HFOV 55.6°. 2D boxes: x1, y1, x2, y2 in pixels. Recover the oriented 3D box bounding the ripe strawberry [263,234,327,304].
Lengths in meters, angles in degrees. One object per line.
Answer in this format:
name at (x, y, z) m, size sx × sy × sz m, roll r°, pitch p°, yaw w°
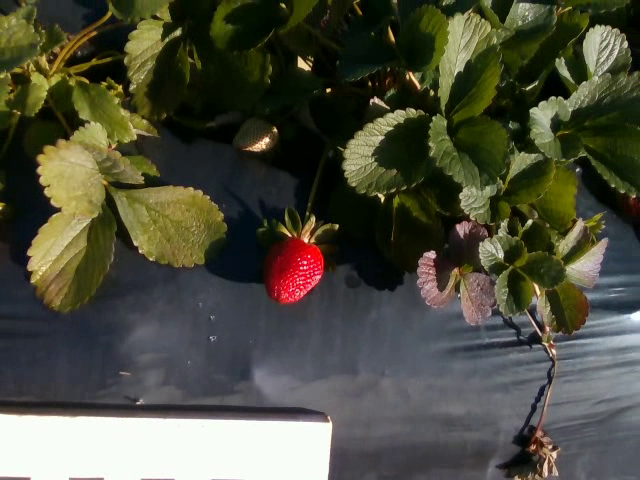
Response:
ripe strawberry at (-0.018, 0.024, 0.376) m, size 0.043 × 0.042 × 0.050 m, roll -40°, pitch 15°, yaw 40°
